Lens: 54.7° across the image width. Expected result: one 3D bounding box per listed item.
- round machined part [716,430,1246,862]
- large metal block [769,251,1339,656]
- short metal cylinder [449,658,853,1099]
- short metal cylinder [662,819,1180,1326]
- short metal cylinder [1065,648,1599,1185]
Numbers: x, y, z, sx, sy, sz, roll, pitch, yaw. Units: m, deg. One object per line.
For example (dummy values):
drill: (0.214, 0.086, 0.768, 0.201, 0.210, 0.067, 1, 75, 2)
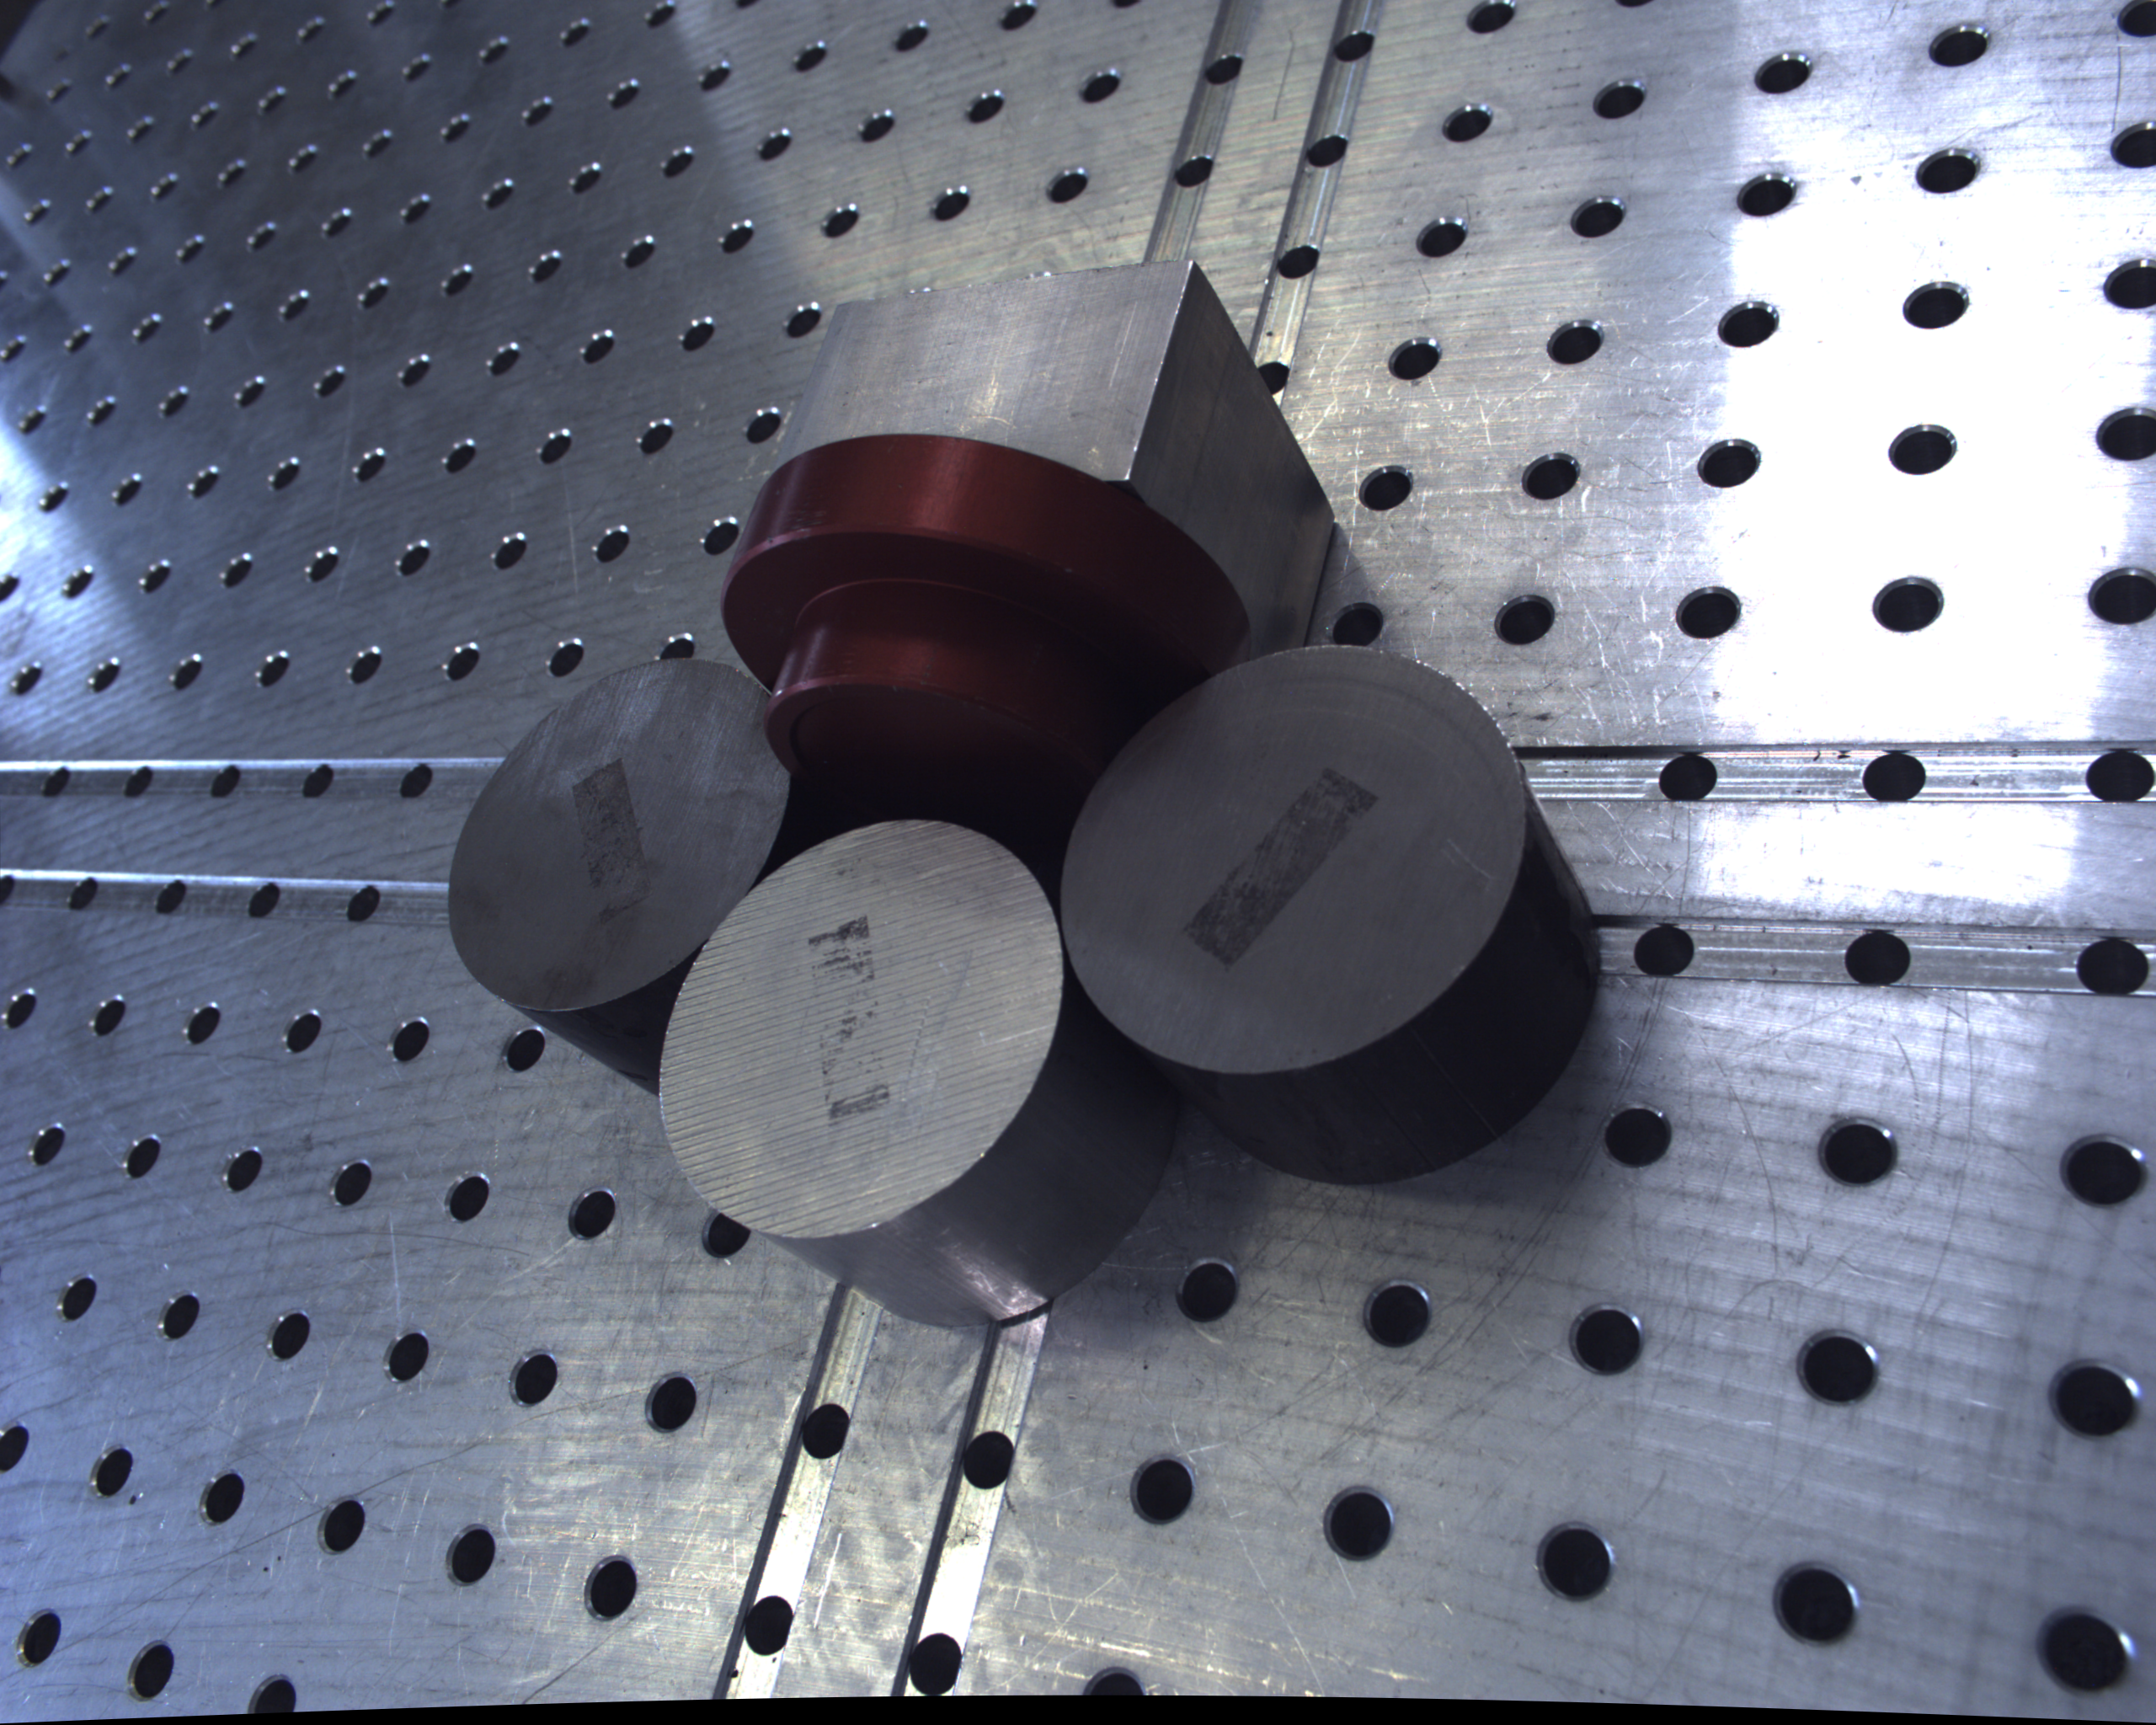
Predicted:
round machined part: (-0.021, -0.034, 0.391, 0.098, 0.098, 0.042, 2, 62, 29)
large metal block: (-0.003, -0.071, 0.417, 0.080, 0.080, 0.050, 1, 62, 28)
short metal cylinder: (-0.081, 0.005, 0.432, 0.080, 0.050, 0.080, -13, 56, 21)
short metal cylinder: (-0.028, 0.039, 0.384, 0.080, 0.050, 0.080, -13, 56, 21)
short metal cylinder: (0.045, 0.010, 0.363, 0.080, 0.050, 0.080, -13, 56, 21)
